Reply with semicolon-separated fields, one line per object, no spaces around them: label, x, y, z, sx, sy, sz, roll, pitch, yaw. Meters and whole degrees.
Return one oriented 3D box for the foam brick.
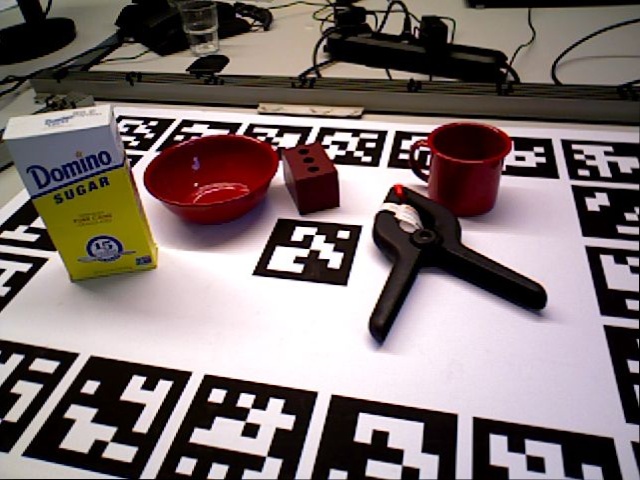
foam brick;-0.012;-0.070;0.652;0.052;0.052;0.077;-14;43;-10

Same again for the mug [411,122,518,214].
mug;0.158;-0.089;0.623;0.117;0.083;0.091;27;50;26

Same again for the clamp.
clamp;0.104;0.005;0.550;0.164;0.037;0.200;-12;43;-5

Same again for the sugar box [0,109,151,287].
sugar box;-0.230;-0.035;0.528;0.092;0.180;0.045;-10;44;-10

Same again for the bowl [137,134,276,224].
bowl;-0.131;-0.069;0.649;0.161;0.056;0.159;-2;42;1
